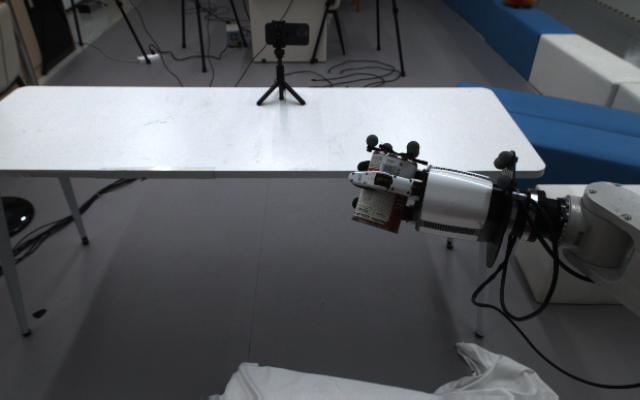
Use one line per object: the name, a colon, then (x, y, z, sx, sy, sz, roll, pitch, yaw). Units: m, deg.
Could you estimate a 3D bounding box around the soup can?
soup can: (0.093, -0.011, 0.682, 0.067, 0.101, 0.067, 17, -1, 0)
